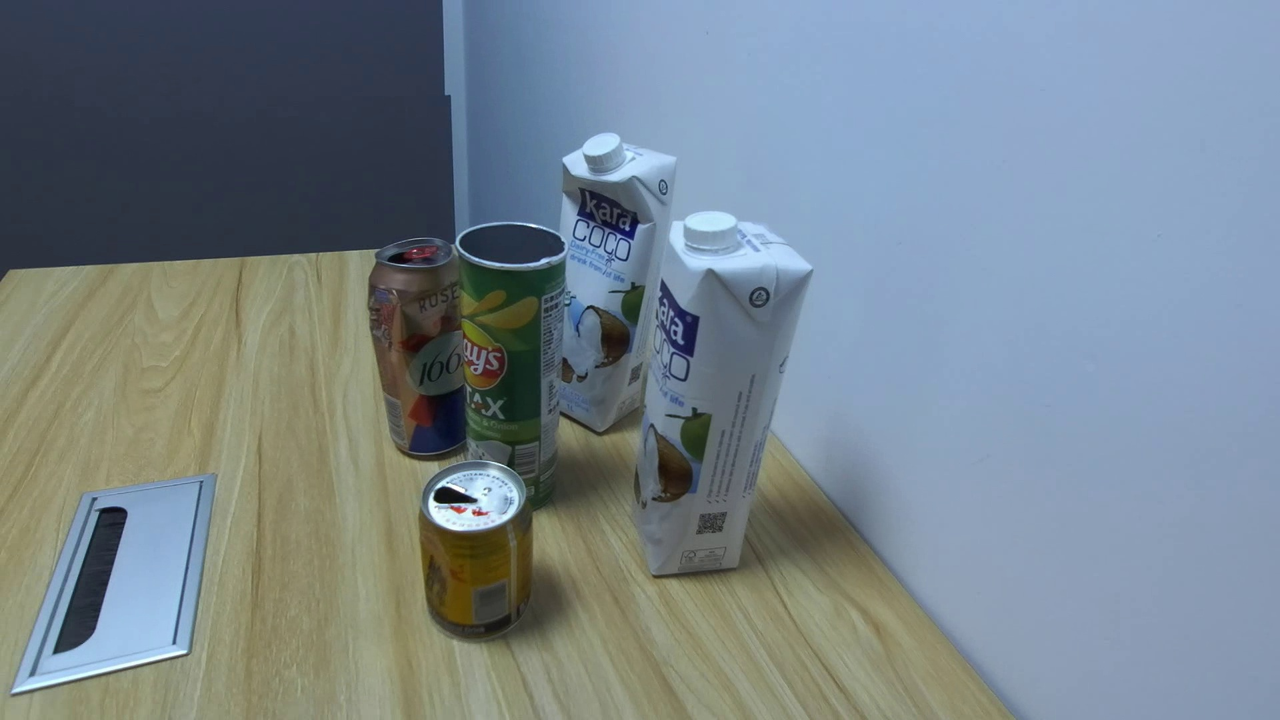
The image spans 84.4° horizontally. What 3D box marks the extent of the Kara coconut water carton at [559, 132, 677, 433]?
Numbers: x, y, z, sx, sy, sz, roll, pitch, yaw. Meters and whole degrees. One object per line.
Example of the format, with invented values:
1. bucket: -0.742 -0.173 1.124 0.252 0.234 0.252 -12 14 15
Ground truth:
1. Kara coconut water carton: -0.025 -0.061 0.580 0.099 0.244 0.071 21 31 29

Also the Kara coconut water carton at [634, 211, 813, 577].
1. Kara coconut water carton: 0.045 0.027 0.451 0.075 0.245 0.077 -1 32 -14

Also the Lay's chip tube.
1. Lay's chip tube: -0.088 0.010 0.494 0.071 0.202 0.071 4 32 -2

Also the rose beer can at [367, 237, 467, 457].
1. rose beer can: -0.168 -0.007 0.550 0.076 0.167 0.065 -24 39 -37

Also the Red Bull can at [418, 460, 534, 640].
1. Red Bull can: -0.099 0.115 0.429 0.069 0.092 0.069 4 31 -2
